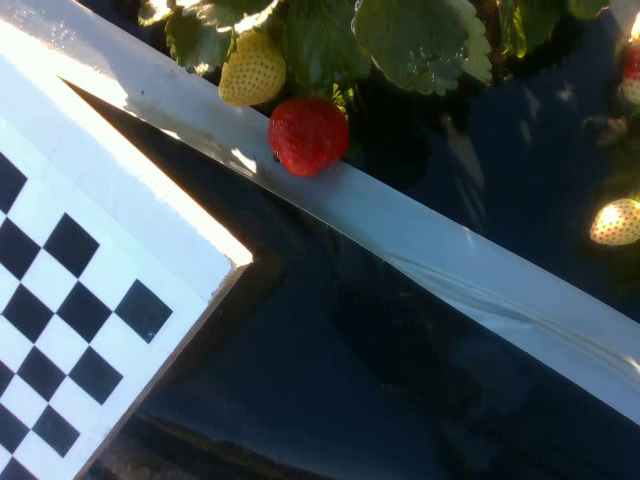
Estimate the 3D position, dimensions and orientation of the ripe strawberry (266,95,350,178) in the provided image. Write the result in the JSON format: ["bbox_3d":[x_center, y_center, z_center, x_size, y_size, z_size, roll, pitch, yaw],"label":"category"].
[{"bbox_3d":[-0.007,-0.051,0.279,0.045,0.049,0.064,-24,33,23],"label":"ripe strawberry"}]
